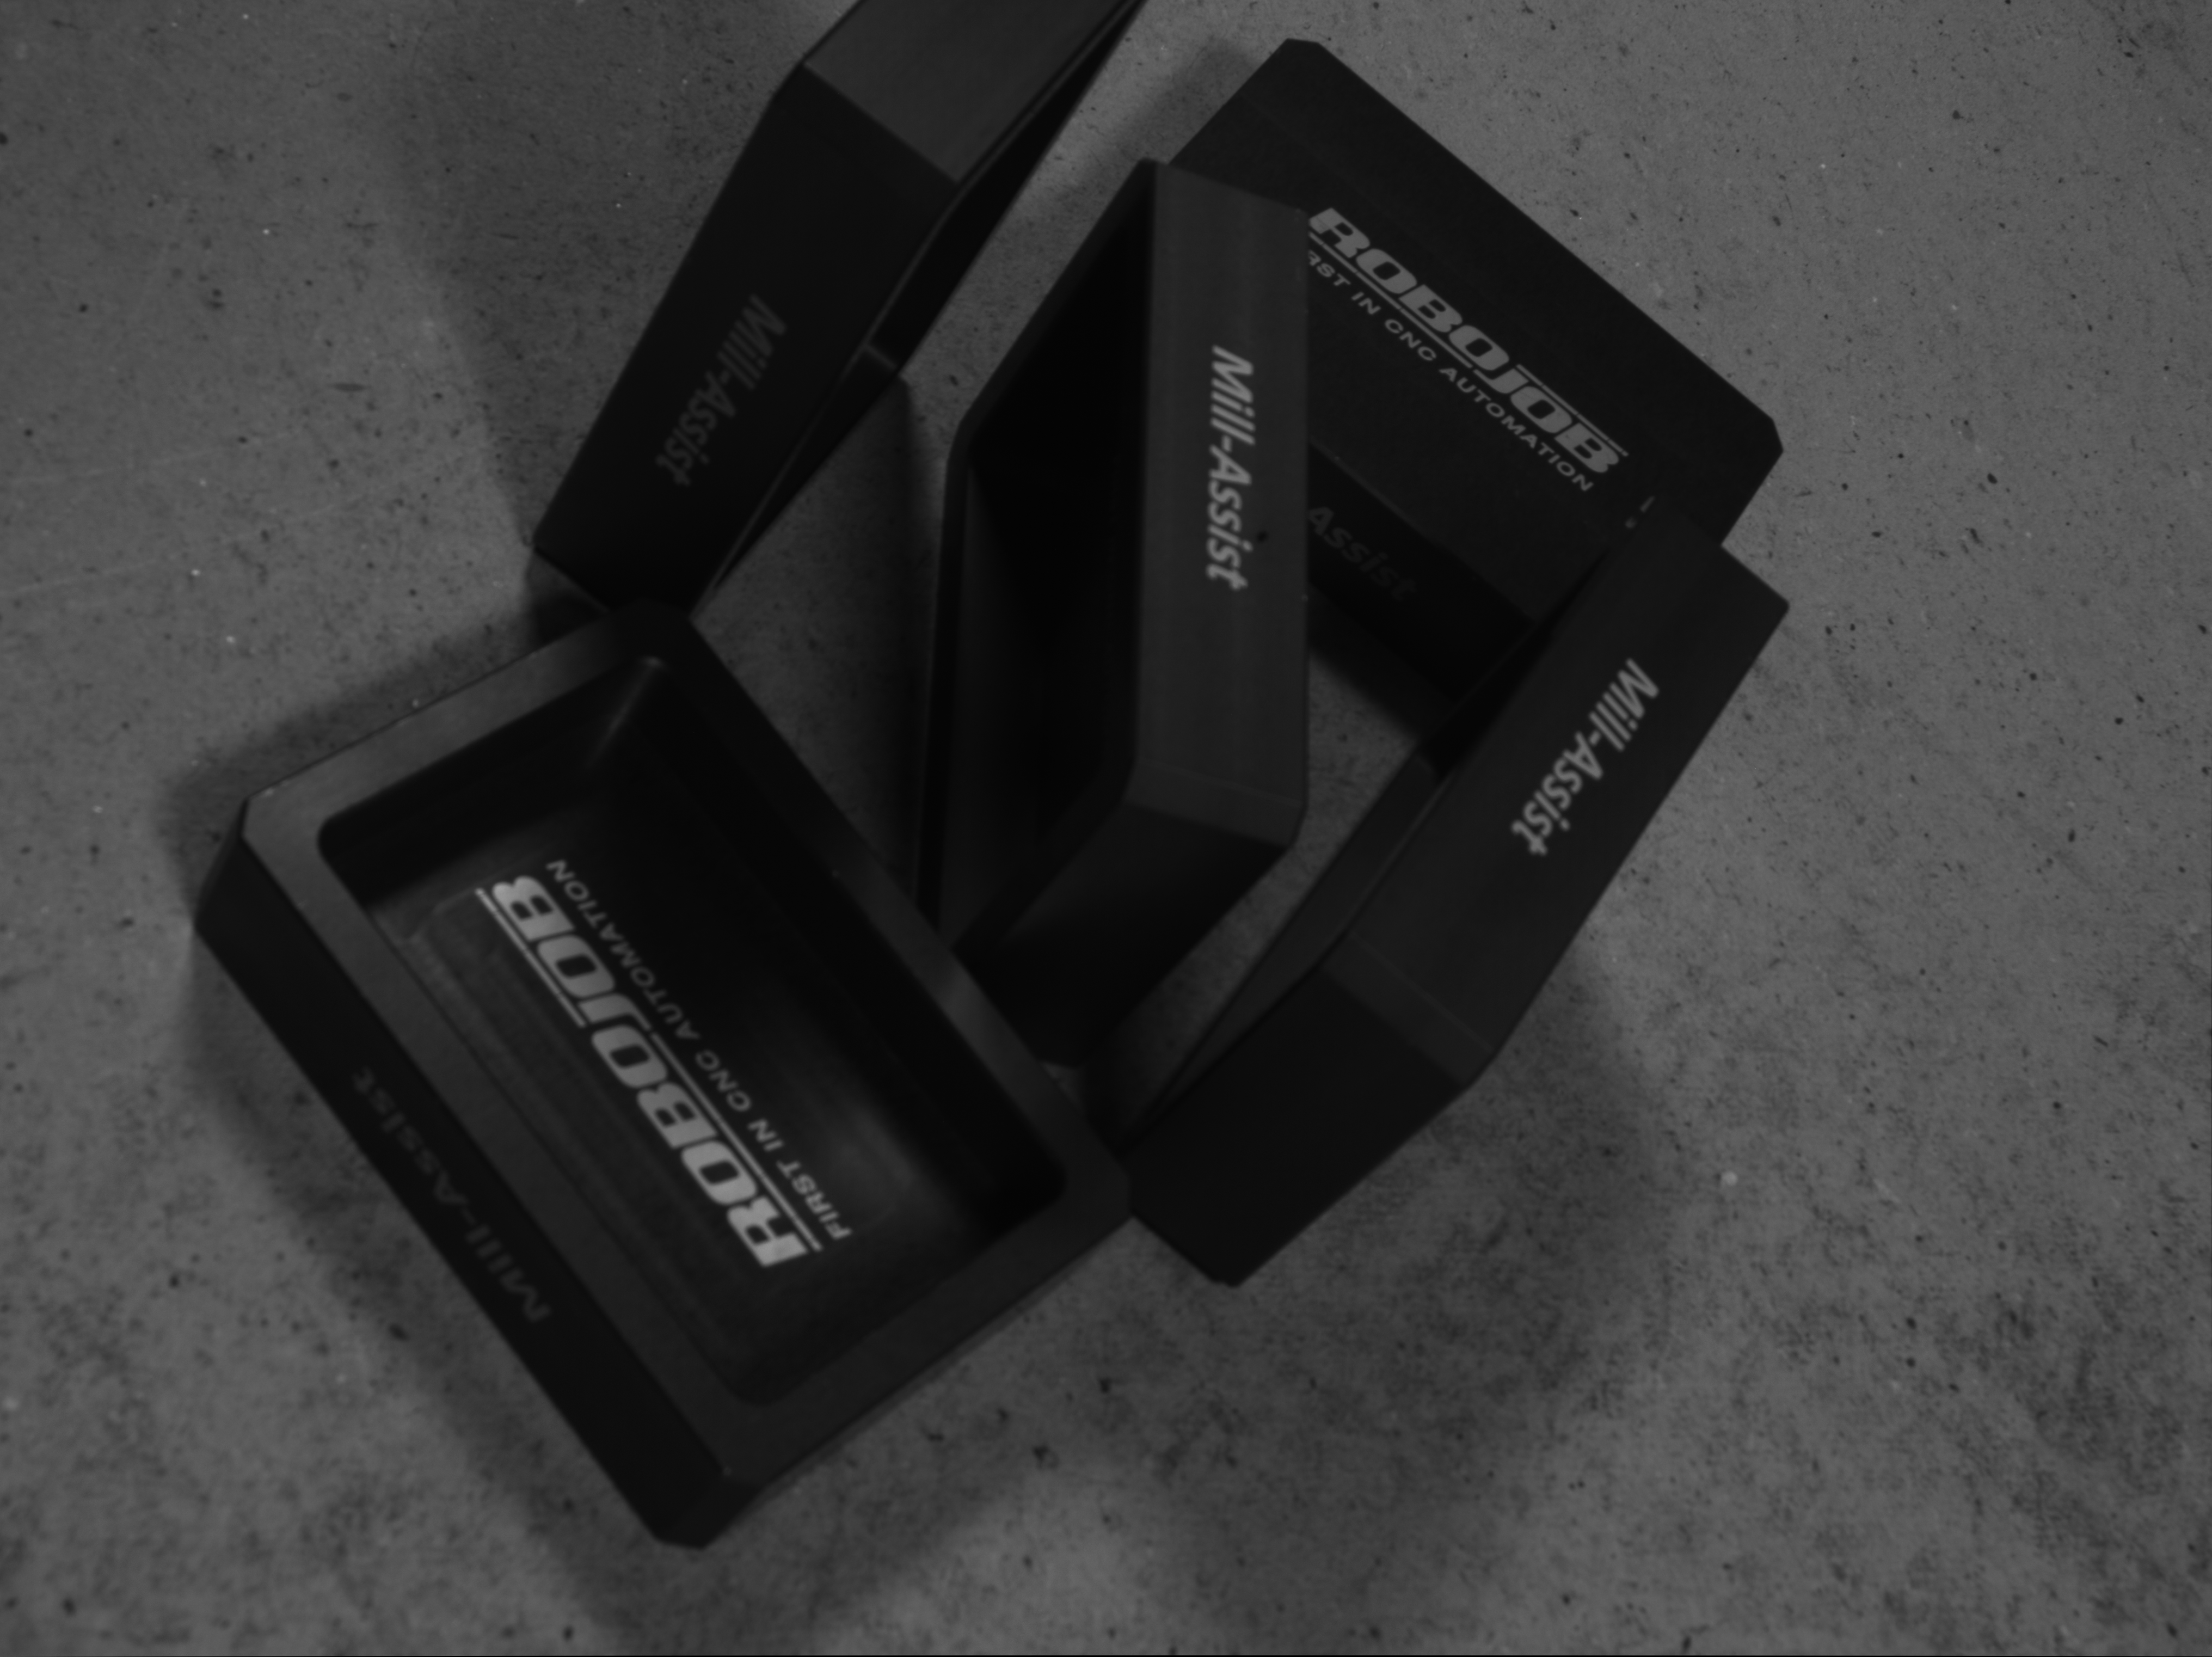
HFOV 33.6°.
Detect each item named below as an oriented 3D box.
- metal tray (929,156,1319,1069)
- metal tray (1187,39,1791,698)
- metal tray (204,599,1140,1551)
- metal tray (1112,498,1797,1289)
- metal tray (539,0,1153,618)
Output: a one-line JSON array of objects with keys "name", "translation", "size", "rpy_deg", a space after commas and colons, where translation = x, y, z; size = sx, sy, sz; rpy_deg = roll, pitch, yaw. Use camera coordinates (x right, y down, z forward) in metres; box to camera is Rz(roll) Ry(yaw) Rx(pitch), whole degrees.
[{"name": "metal tray", "translation": [0.002, -0.037, 0.621], "size": [0.030, 0.090, 0.130], "rpy_deg": [15, 55, -19]}, {"name": "metal tray", "translation": [0.063, -0.086, 0.724], "size": [0.130, 0.030, 0.090], "rpy_deg": [39, 51, -2]}, {"name": "metal tray", "translation": [-0.068, 0.036, 0.578], "size": [0.090, 0.030, 0.130], "rpy_deg": [-32, 80, -38]}, {"name": "metal tray", "translation": [0.060, 0.010, 0.624], "size": [0.030, 0.090, 0.130], "rpy_deg": [40, 51, -1]}, {"name": "metal tray", "translation": [-0.041, -0.098, 0.610], "size": [0.030, 0.130, 0.090], "rpy_deg": [37, 51, -3]}]
